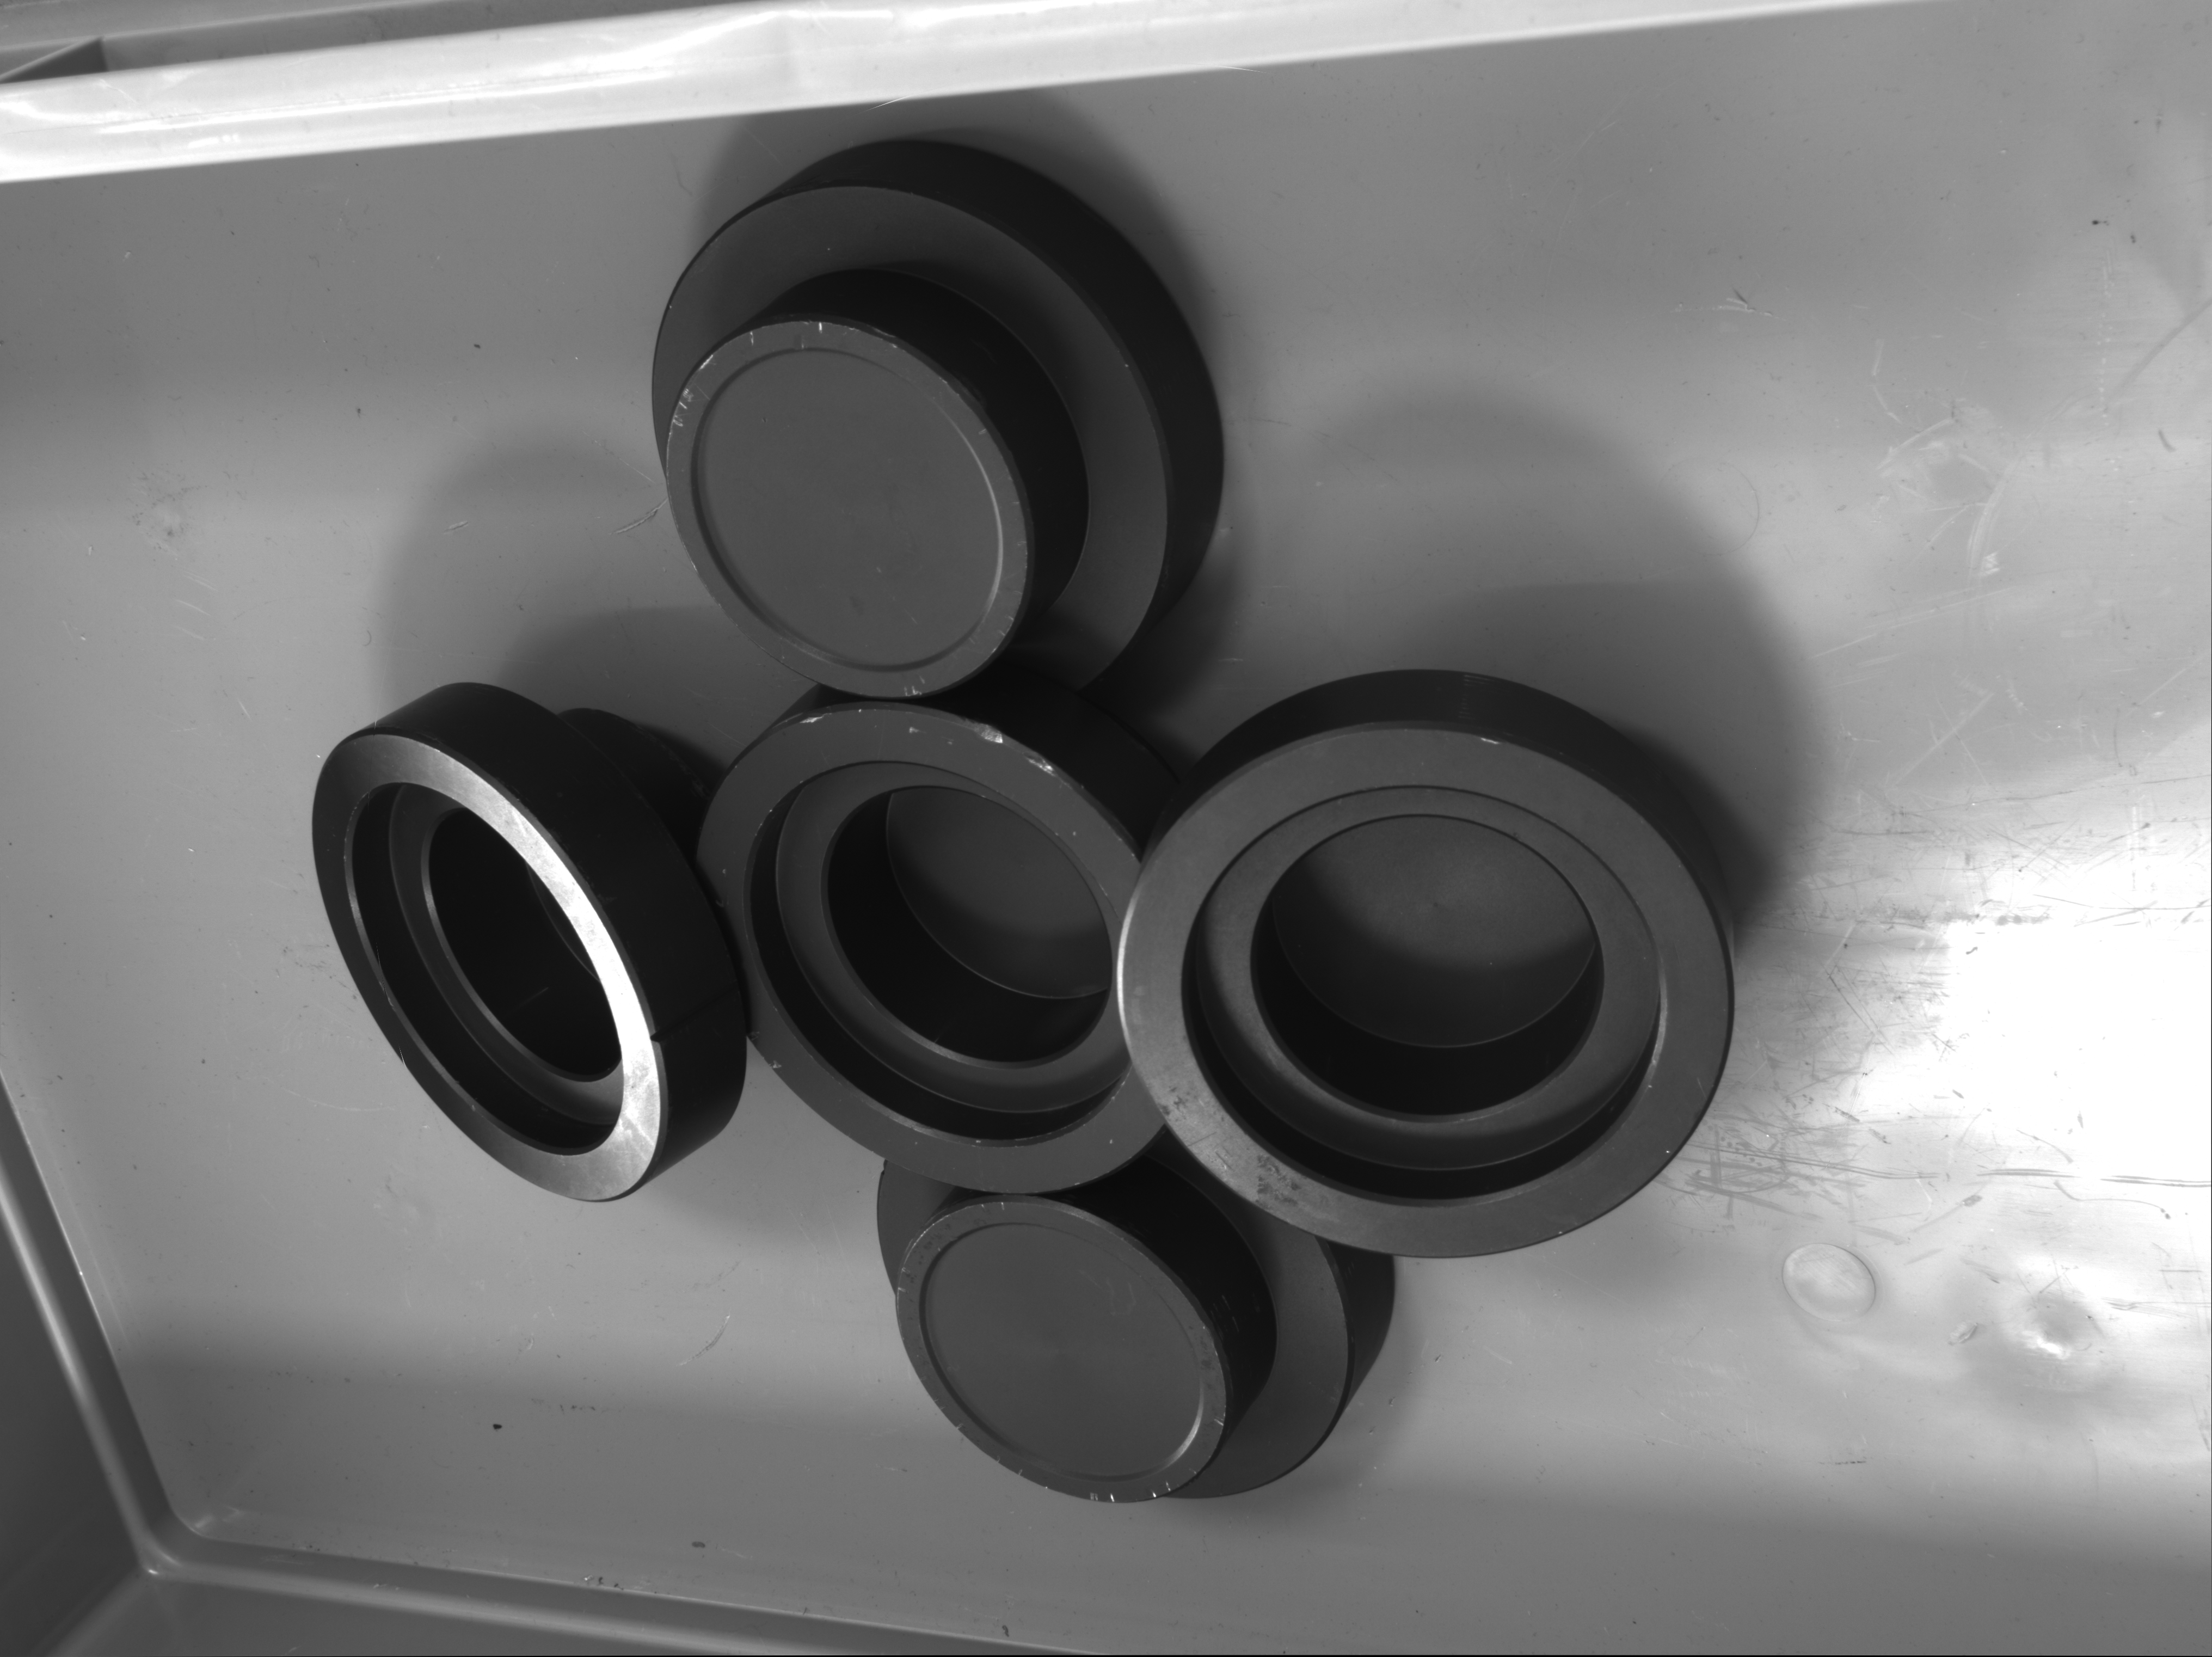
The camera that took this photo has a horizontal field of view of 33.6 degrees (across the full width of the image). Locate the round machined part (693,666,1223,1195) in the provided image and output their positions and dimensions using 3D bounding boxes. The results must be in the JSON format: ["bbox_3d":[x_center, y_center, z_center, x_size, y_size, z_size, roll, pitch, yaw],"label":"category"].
[{"bbox_3d":[-0.020,0.013,0.648,0.098,0.042,0.098,13,124,21],"label":"round machined part"}]

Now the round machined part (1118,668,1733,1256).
[{"bbox_3d":[0.053,0.018,0.601,0.098,0.042,0.098,4,118,8],"label":"round machined part"}]

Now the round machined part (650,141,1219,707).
[{"bbox_3d":[-0.034,-0.061,0.611,0.098,0.042,0.098,13,124,21],"label":"round machined part"}]

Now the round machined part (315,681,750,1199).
[{"bbox_3d":[-0.100,0.016,0.683,0.098,0.042,0.098,28,135,32],"label":"round machined part"}]

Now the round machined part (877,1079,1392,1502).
[{"bbox_3d":[0.000,0.086,0.682,0.098,0.042,0.098,13,124,21],"label":"round machined part"}]
